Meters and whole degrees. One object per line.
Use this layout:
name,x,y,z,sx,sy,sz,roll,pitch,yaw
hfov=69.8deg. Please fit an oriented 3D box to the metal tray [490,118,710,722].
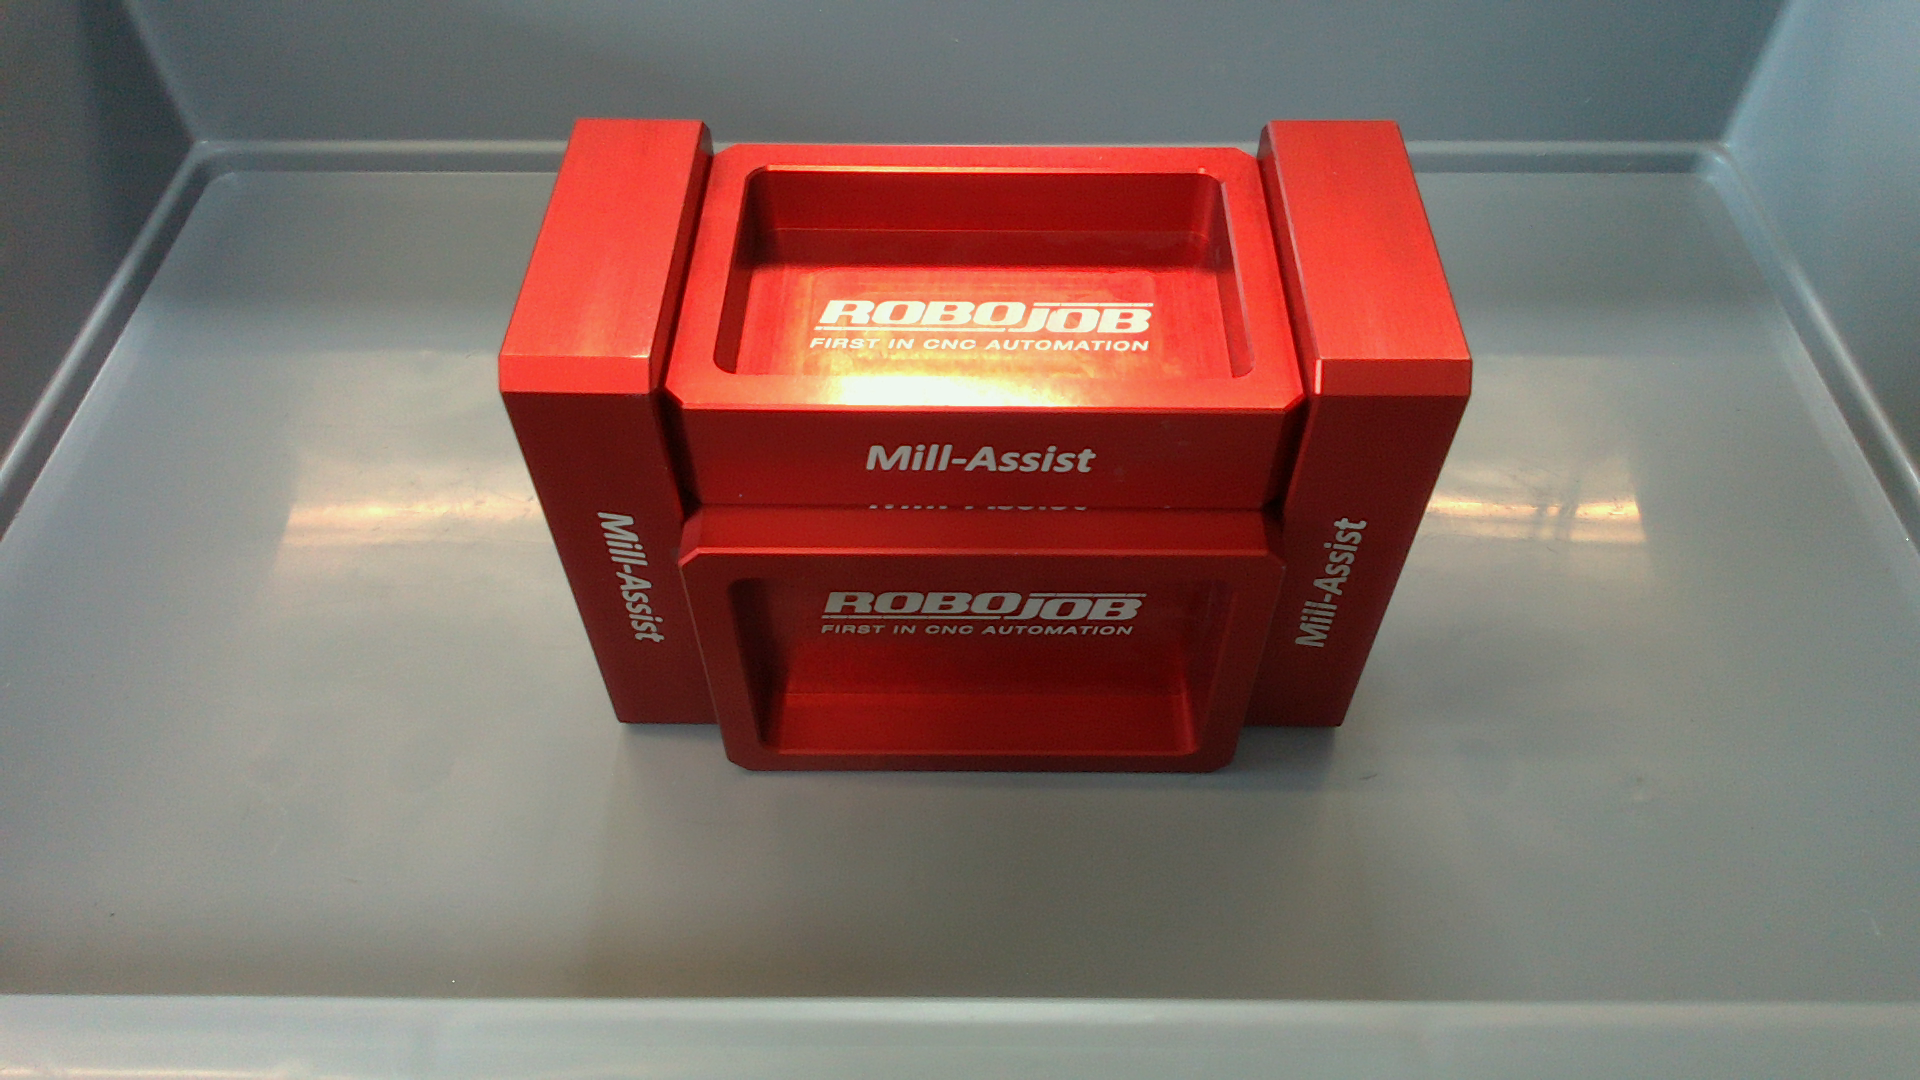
metal tray,-0.076,-0.025,0.342,0.030,0.130,0.090,0,50,1

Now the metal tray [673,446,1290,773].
metal tray,0.005,0.019,0.329,0.130,0.090,0.030,0,49,0

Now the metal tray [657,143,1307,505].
metal tray,0.005,-0.051,0.312,0.130,0.030,0.090,1,49,0

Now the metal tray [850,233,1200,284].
metal tray,0.006,-0.049,0.387,0.130,0.090,0.030,0,51,1

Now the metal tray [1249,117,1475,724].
metal tray,0.086,-0.025,0.342,0.030,0.130,0.090,1,50,1
